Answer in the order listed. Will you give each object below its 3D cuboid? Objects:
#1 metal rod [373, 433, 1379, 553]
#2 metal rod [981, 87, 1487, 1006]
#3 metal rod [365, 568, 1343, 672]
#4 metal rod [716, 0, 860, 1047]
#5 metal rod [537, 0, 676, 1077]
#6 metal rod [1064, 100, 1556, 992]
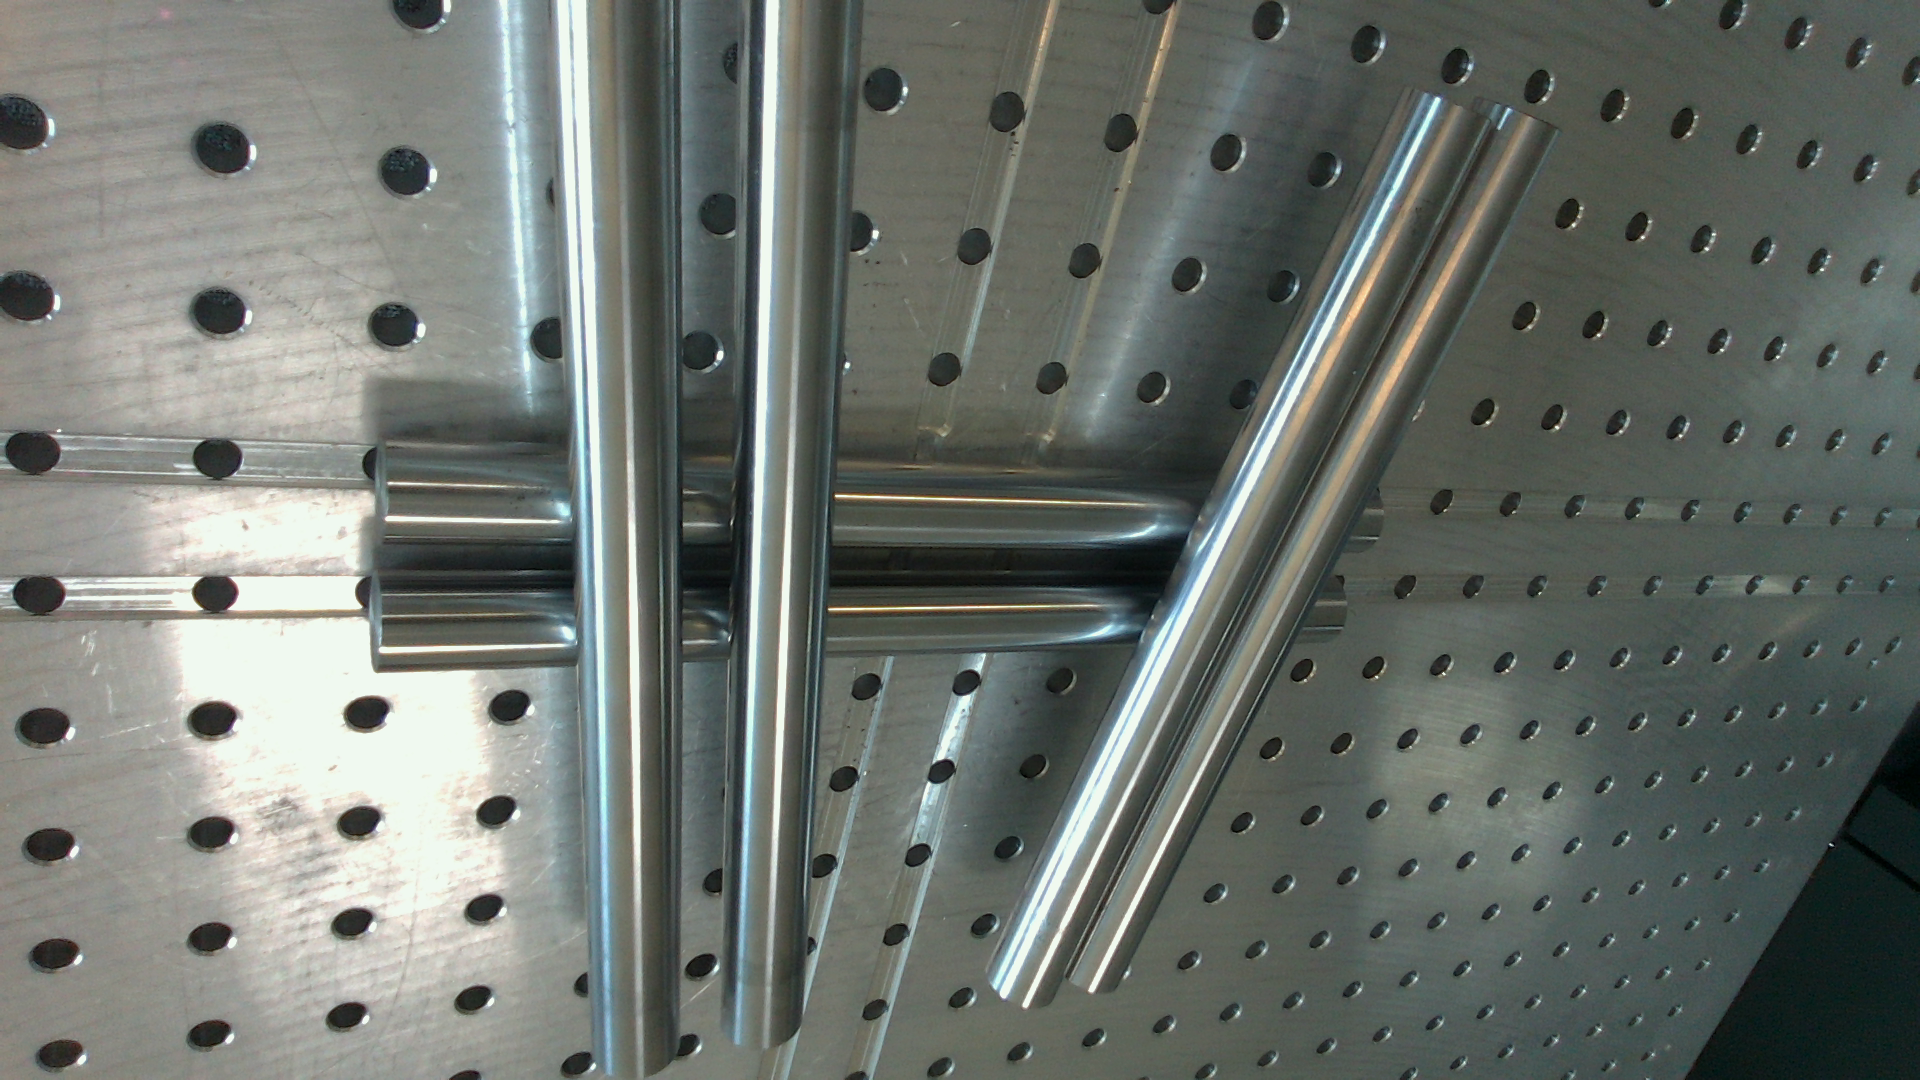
[{"bbox_3d":[-0.001,-0.010,0.386,0.301,0.025,0.025,1,118,-29],"label":"metal rod"},{"bbox_3d":[0.072,0.017,0.410,0.025,0.025,0.300,9,114,-32],"label":"metal rod"},{"bbox_3d":[-0.009,0.021,0.401,0.301,0.025,0.025,1,118,-29],"label":"metal rod"},{"bbox_3d":[-0.046,0.012,0.343,0.025,0.025,0.300,-8,122,-24],"label":"metal rod"},{"bbox_3d":[-0.080,0.015,0.326,0.025,0.025,0.300,-8,122,-24],"label":"metal rod"},{"bbox_3d":[0.095,0.016,0.422,0.025,0.025,0.300,9,114,-32],"label":"metal rod"}]
